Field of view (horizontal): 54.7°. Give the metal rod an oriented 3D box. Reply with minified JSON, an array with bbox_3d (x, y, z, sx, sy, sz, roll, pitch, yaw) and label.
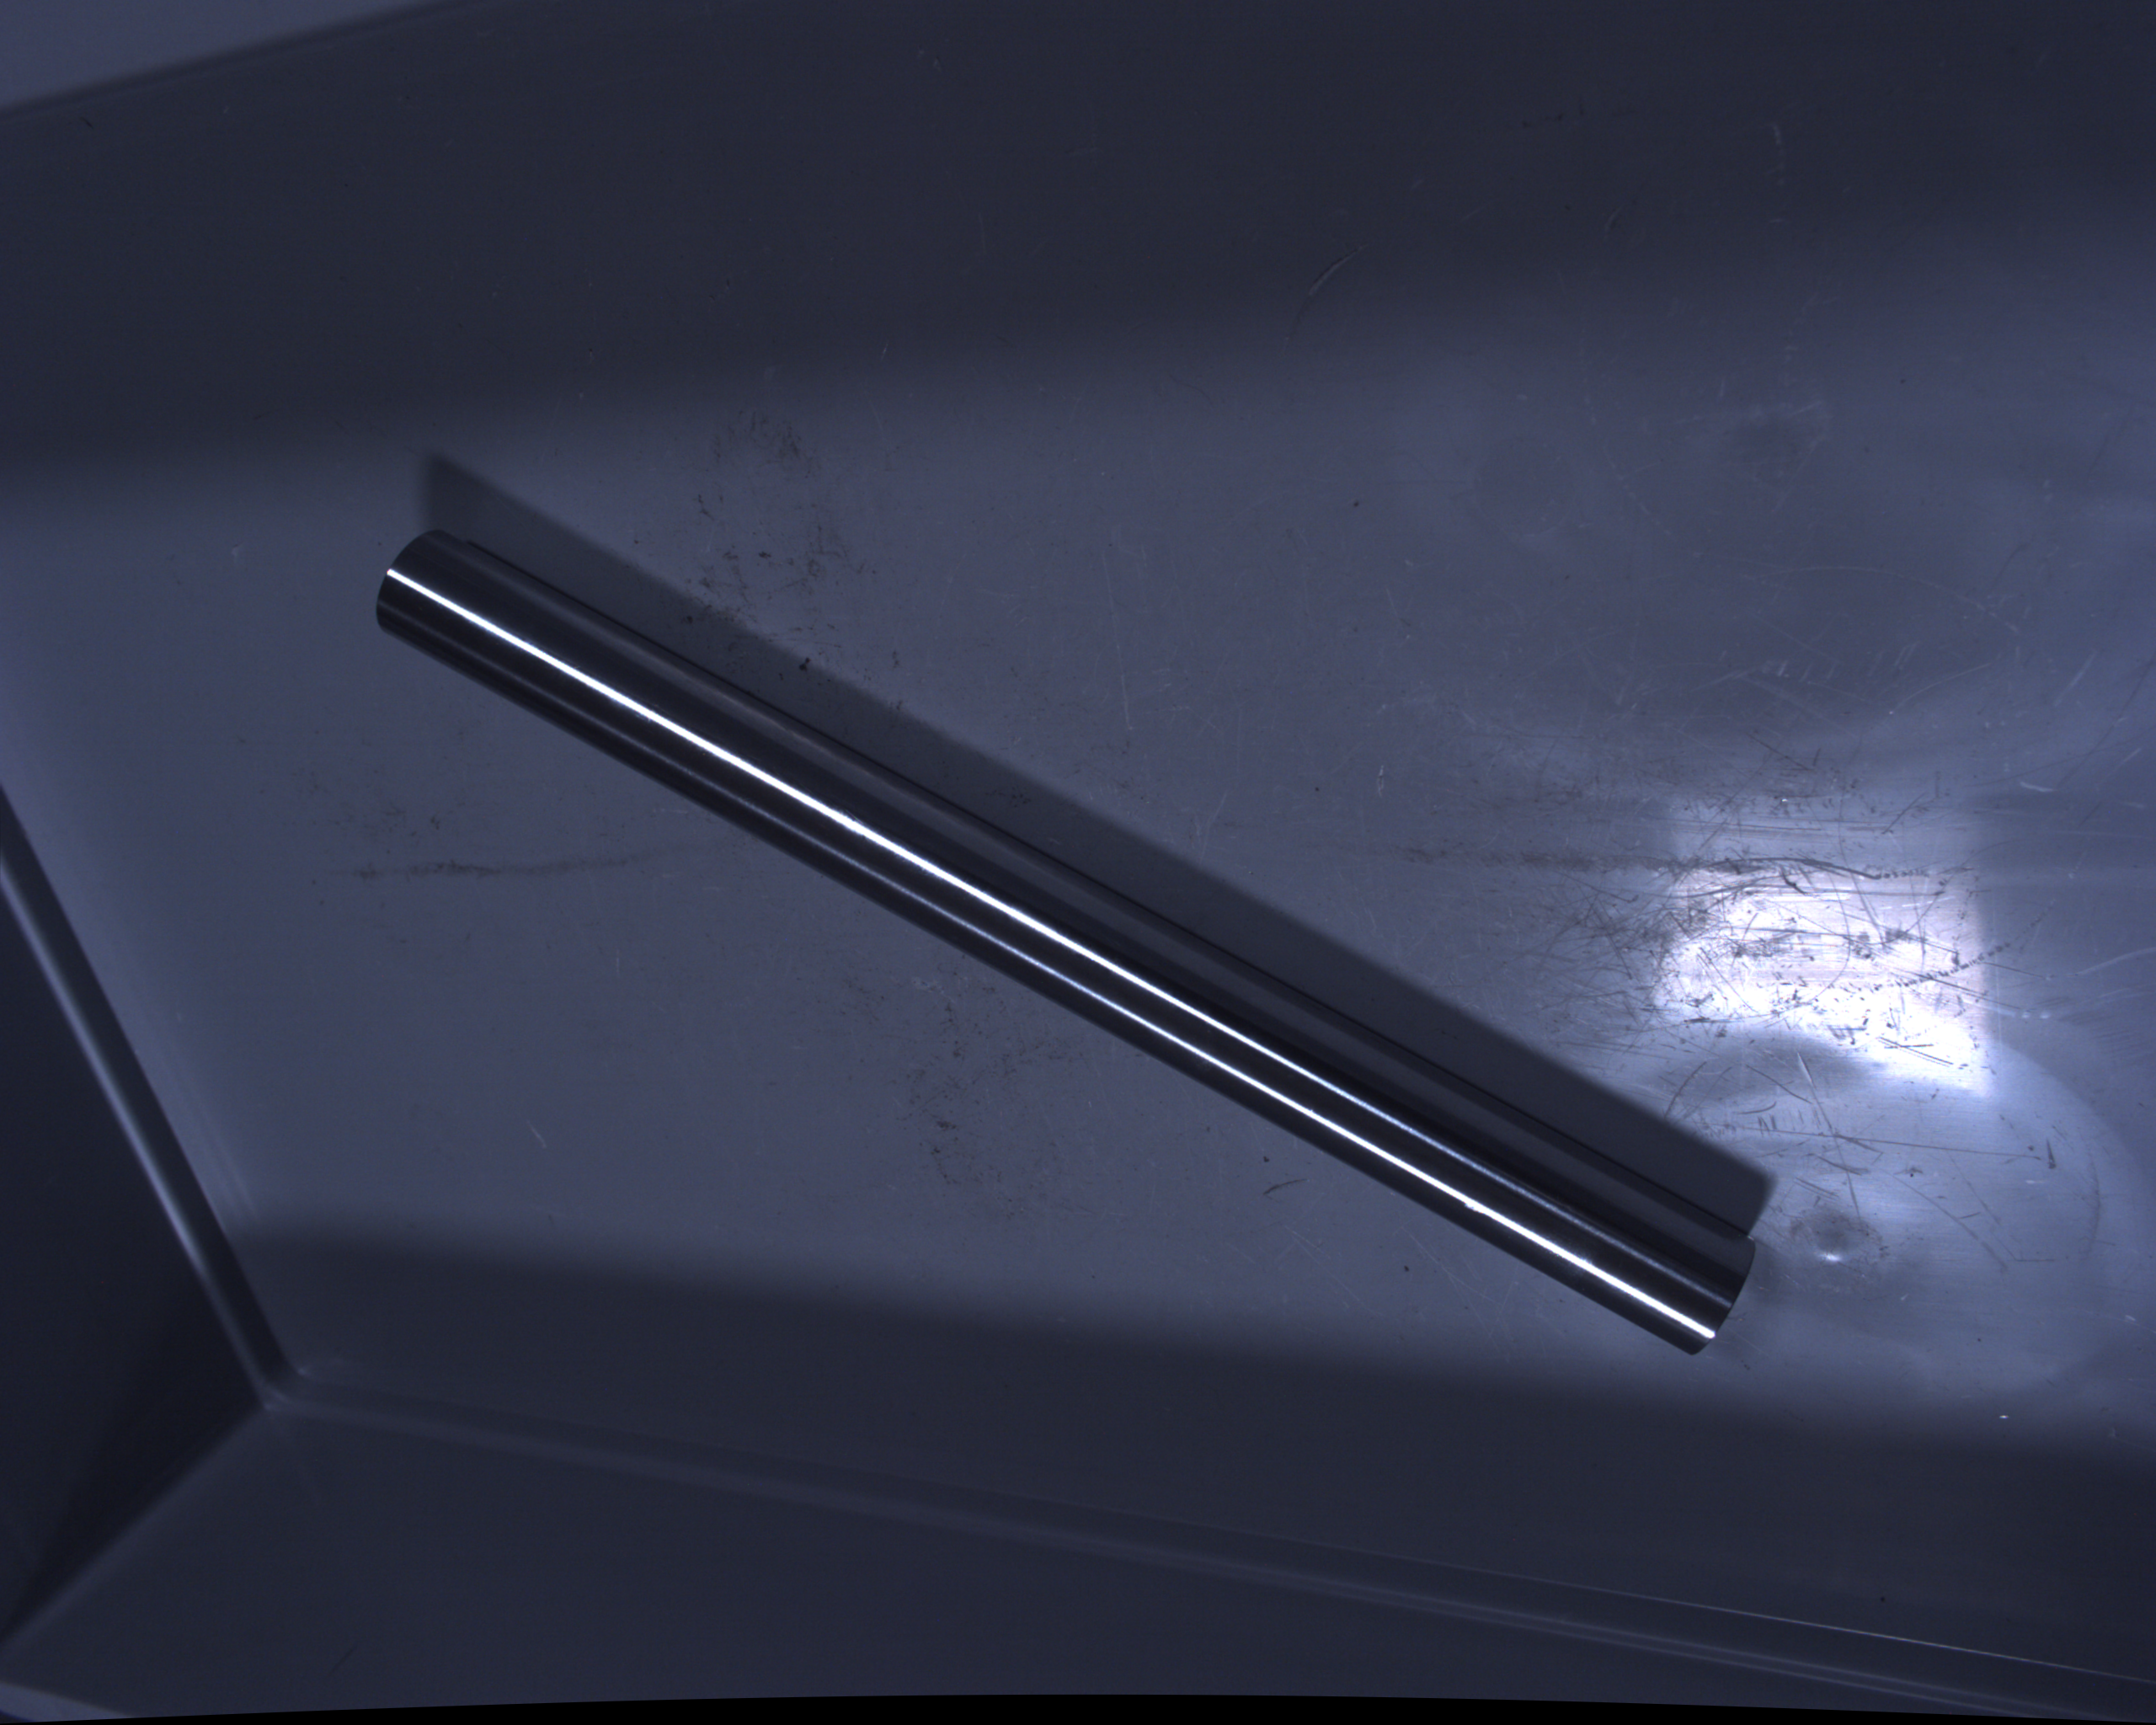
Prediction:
[{"bbox_3d":[-0.010,0.011,0.417,0.301,0.025,0.025,29,128,9],"label":"metal rod"}]
